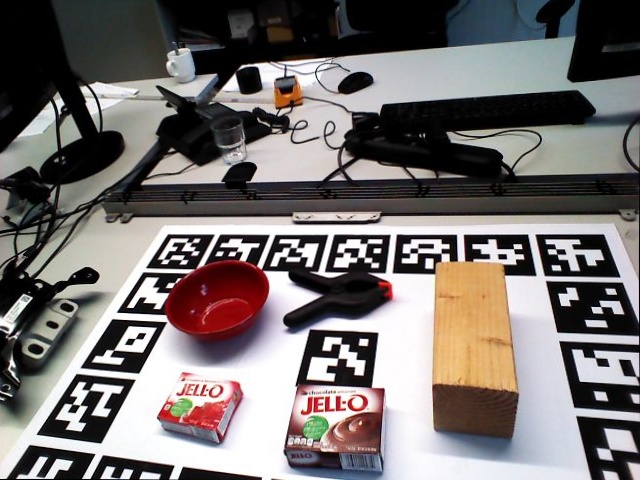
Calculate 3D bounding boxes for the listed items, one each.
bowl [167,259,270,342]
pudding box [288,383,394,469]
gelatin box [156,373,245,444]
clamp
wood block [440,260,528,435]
[{"bbox_3d":[-0.147,0.102,0.792,0.162,0.055,0.161,-7,41,6],"label":"bowl"},{"bbox_3d":[0.027,0.215,0.604,0.114,0.039,0.089,-3,42,15],"label":"pudding box"},{"bbox_3d":[-0.152,0.212,0.660,0.090,0.030,0.073,4,42,20],"label":"gelatin box"},{"bbox_3d":[0.019,0.081,0.790,0.165,0.037,0.121,-6,38,4],"label":"clamp"},{"bbox_3d":[0.198,0.119,0.636,0.090,0.091,0.205,1,40,15],"label":"wood block"}]
